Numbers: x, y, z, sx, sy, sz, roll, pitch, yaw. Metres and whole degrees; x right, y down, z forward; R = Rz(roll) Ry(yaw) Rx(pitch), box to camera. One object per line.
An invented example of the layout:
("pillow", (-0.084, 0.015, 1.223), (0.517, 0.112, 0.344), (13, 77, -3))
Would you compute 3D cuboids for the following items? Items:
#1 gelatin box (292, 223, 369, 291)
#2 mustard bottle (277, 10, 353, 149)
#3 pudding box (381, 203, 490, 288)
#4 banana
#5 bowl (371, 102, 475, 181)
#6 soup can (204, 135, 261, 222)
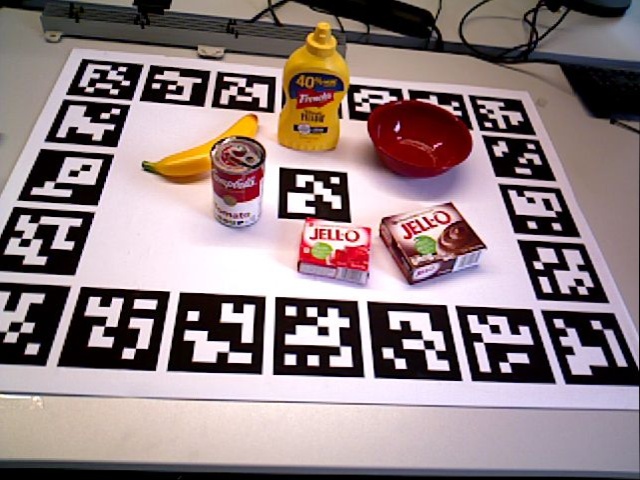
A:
("gelatin box", (0.014, 0.020, 0.679), (0.089, 0.031, 0.072), (9, 53, -1))
("mustard bottle", (-0.005, -0.220, 0.753), (0.095, 0.196, 0.057), (5, 47, -6))
("pudding box", (0.149, 0.006, 0.706), (0.112, 0.039, 0.089), (-15, 60, -21))
("banana", (-0.161, -0.142, 0.781), (0.074, 0.040, 0.193), (31, 52, 29))
("bowl", (0.152, -0.140, 0.822), (0.160, 0.056, 0.159), (3, 49, -5))
("soup can", (-0.112, -0.081, 0.683), (0.067, 0.104, 0.067), (6, 48, -7))
